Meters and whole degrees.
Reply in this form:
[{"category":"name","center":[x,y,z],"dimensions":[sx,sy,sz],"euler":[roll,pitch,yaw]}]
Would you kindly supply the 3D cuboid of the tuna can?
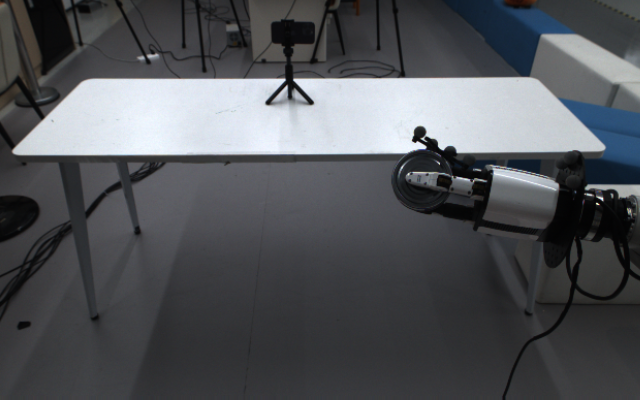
[{"category":"tuna can","center":[0.149,-0.021,0.684],"dimensions":[0.085,0.085,0.034],"euler":[13,-4,15]}]
